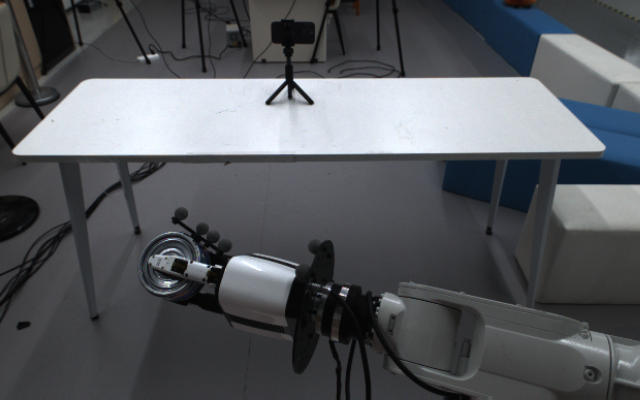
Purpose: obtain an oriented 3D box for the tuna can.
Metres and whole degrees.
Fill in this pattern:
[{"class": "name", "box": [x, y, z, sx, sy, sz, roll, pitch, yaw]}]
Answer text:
[{"class": "tuna can", "box": [-0.184, 0.085, 0.617, 0.085, 0.034, 0.085, -4, 69, 10]}]
